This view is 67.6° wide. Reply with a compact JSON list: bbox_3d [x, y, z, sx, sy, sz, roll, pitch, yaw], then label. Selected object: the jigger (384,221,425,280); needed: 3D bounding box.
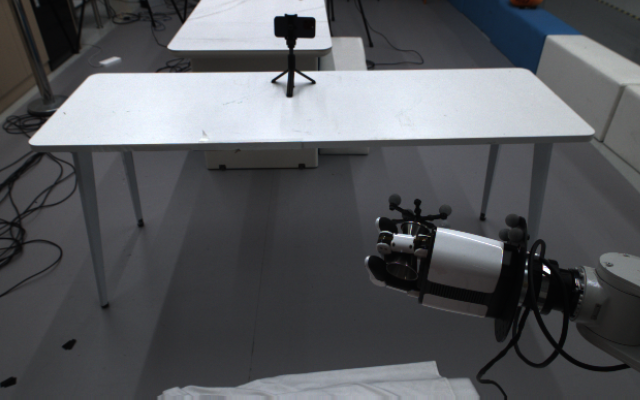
[{"bbox_3d":[0.121,0.066,0.644,0.043,0.043,0.071,13,57,15],"label":"jigger"}]
